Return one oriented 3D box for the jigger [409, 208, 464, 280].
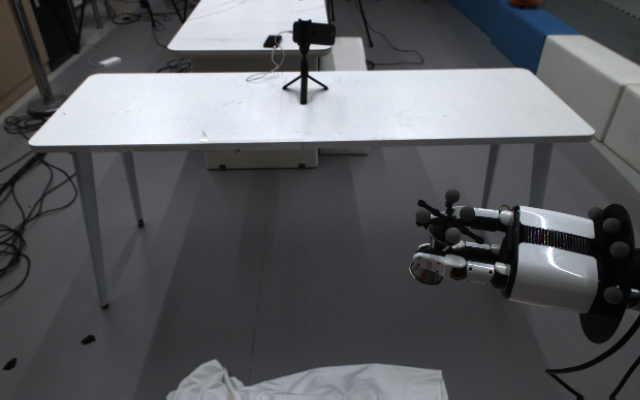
[{"bbox_3d":[0.140,0.064,0.595,0.043,0.071,0.043,10,35,-8],"label":"jigger"}]
